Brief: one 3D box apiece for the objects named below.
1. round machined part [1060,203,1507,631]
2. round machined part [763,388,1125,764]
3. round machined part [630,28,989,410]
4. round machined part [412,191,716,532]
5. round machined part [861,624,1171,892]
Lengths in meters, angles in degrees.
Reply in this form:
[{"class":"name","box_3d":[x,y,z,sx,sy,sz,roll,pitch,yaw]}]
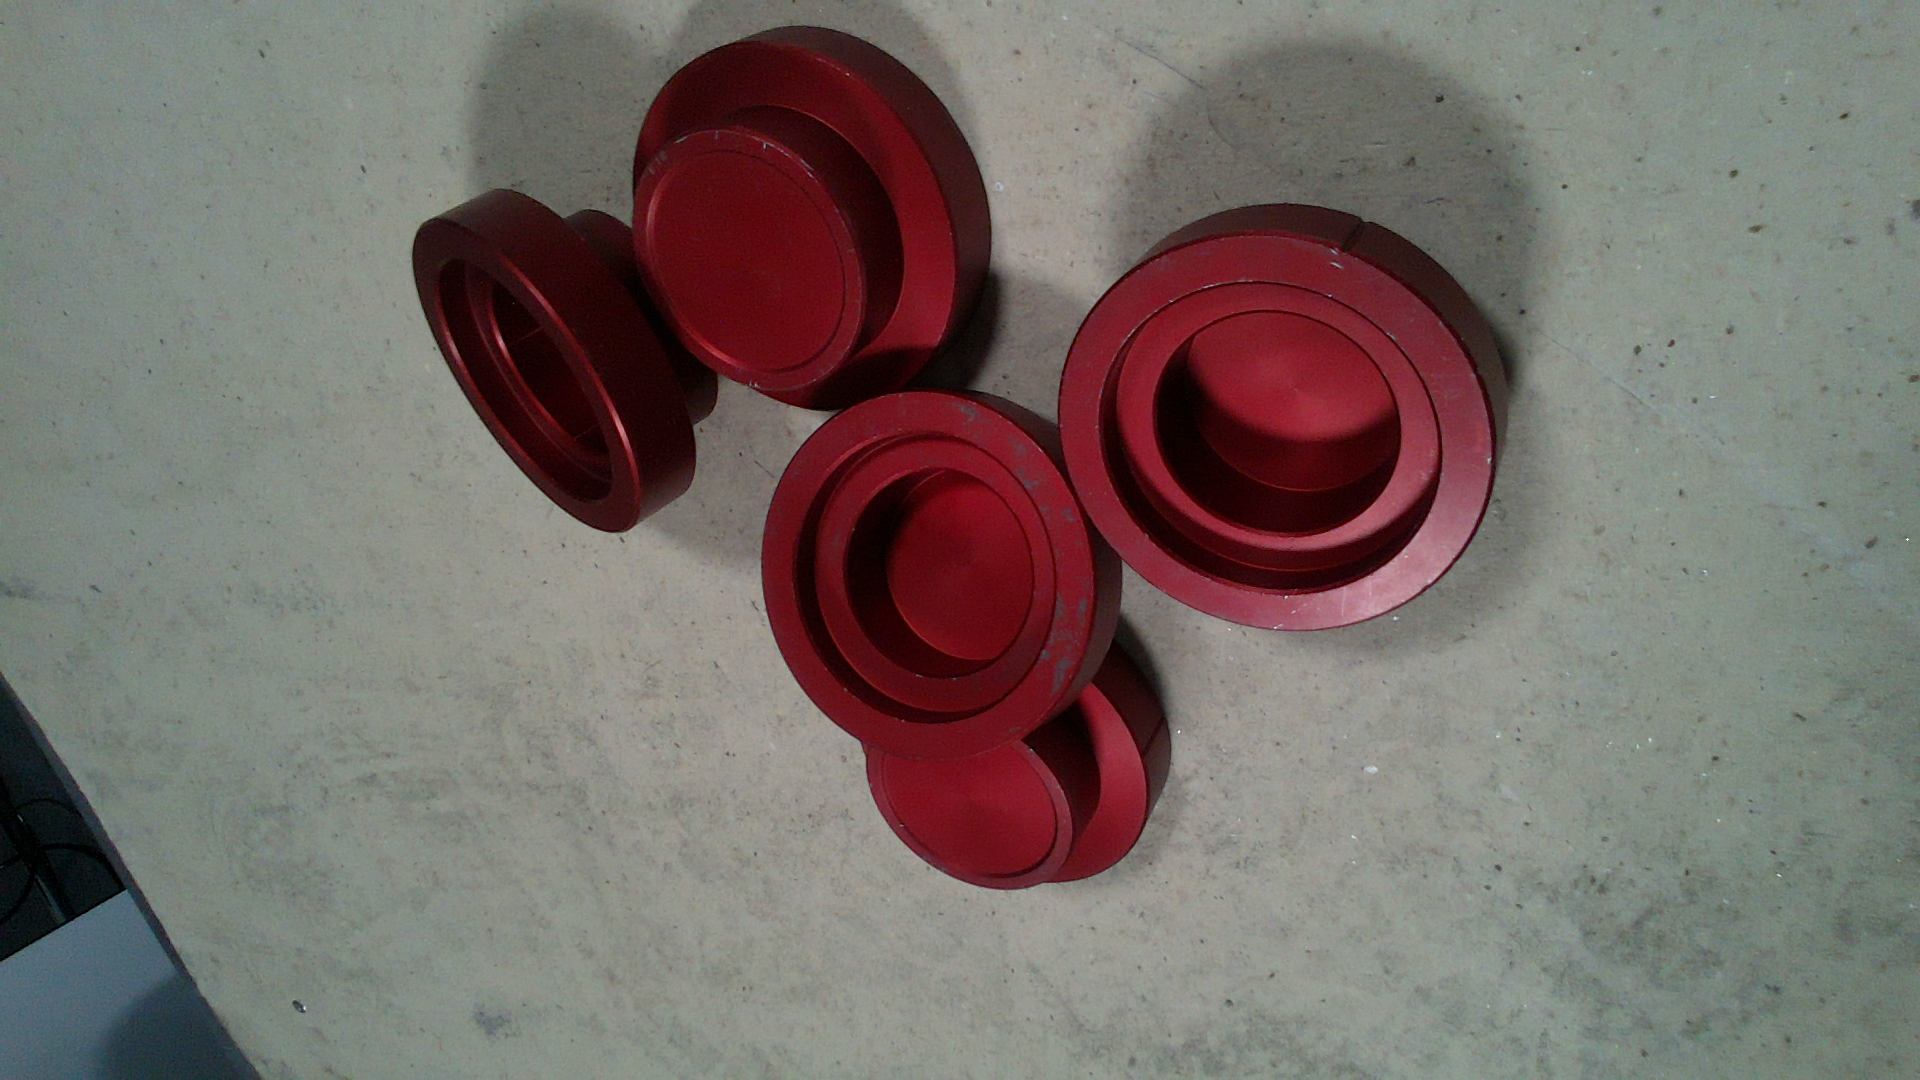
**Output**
[{"class":"round machined part","box_3d":[0.076,-0.031,0.322,0.098,0.042,0.098,13,124,21]},{"class":"round machined part","box_3d":[-0.001,0.008,0.374,0.098,0.042,0.098,3,97,26]},{"class":"round machined part","box_3d":[-0.045,-0.078,0.357,0.098,0.042,0.098,13,124,21]},{"class":"round machined part","box_3d":[-0.108,-0.054,0.393,0.098,0.042,0.098,34,146,27]},{"class":"round machined part","box_3d":[0.011,0.067,0.417,0.098,0.042,0.098,13,124,21]}]
